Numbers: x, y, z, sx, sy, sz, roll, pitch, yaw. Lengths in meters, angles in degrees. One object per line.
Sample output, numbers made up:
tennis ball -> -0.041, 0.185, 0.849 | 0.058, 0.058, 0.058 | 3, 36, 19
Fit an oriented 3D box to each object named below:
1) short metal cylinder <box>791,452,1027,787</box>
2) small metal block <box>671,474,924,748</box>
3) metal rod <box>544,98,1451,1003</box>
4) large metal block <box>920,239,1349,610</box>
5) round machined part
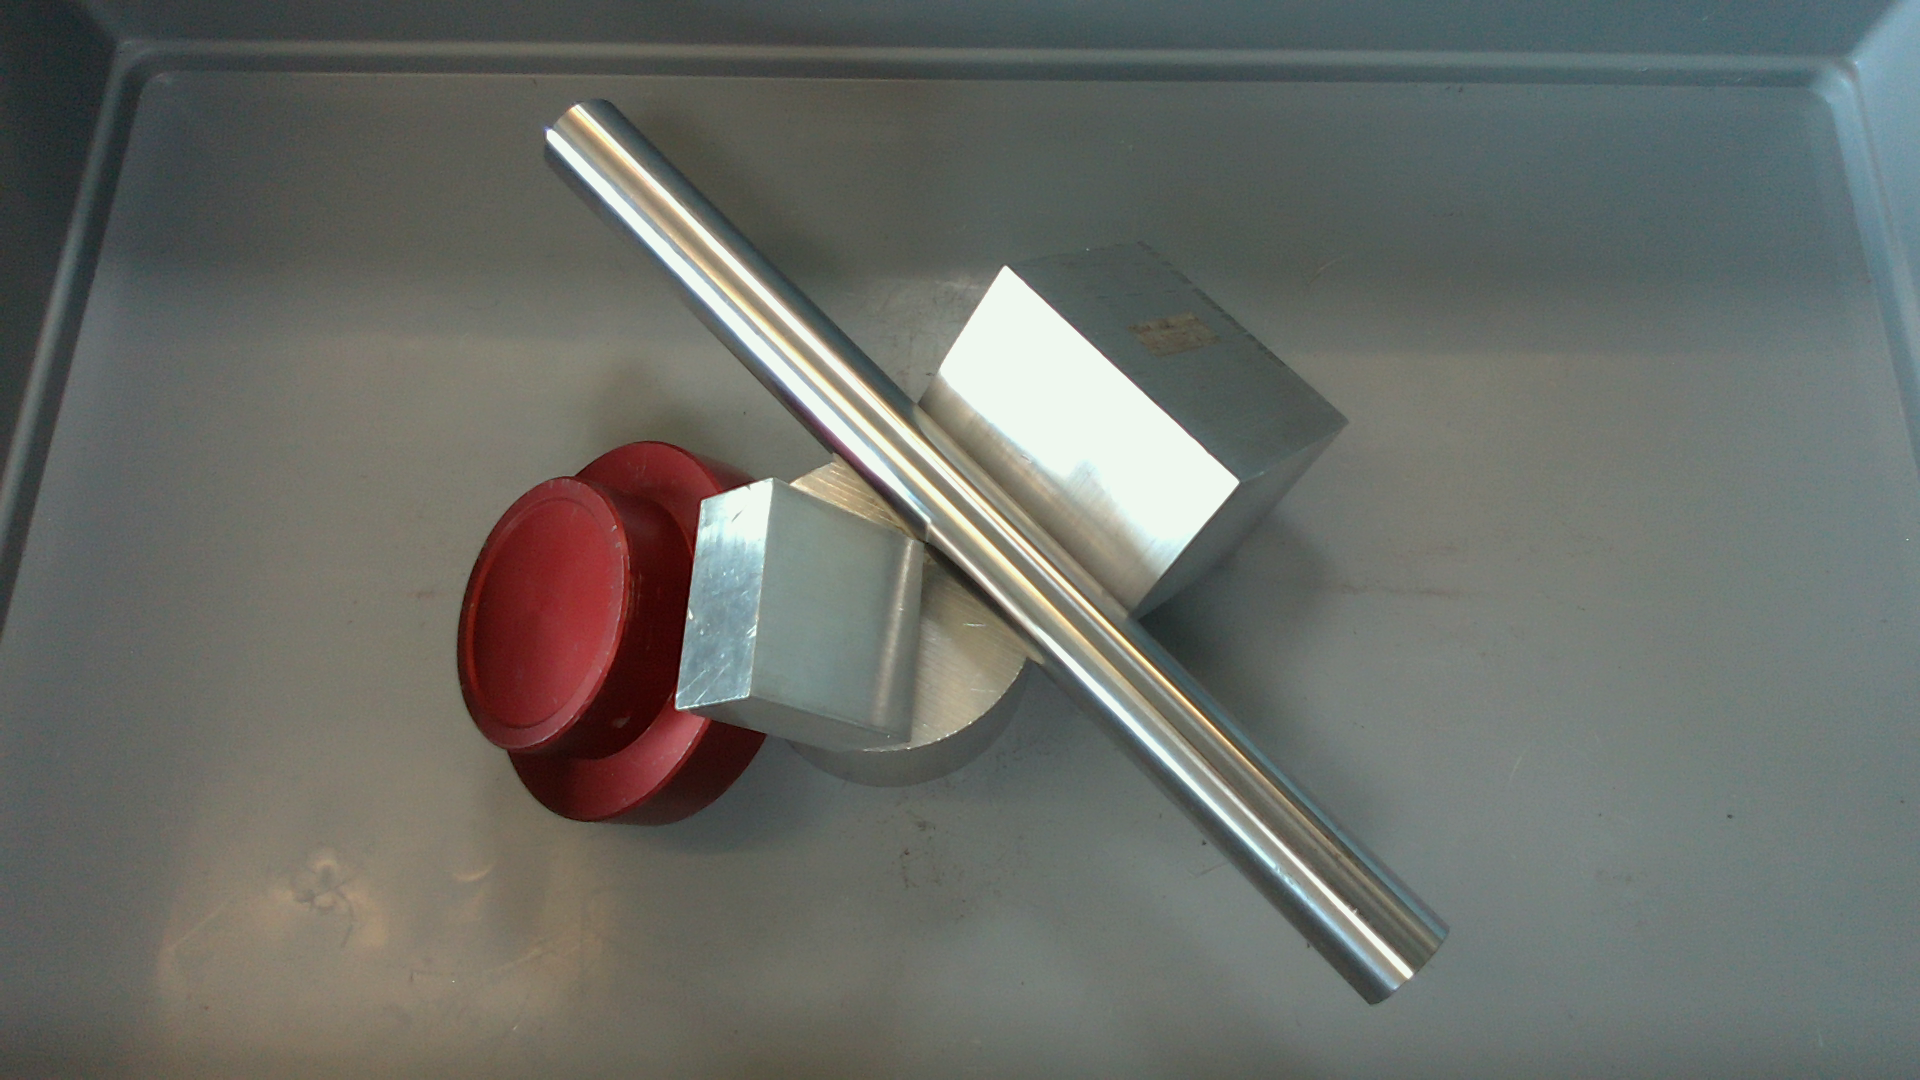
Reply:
short metal cylinder -> -0.020, 0.022, 0.371 | 0.080, 0.050, 0.080 | 0, 70, 0
small metal block -> -0.036, 0.019, 0.318 | 0.025, 0.050, 0.050 | -14, 64, 39
metal rod -> -0.002, -0.009, 0.343 | 0.025, 0.025, 0.300 | -41, 75, -14
large metal block -> 0.046, -0.033, 0.369 | 0.080, 0.050, 0.080 | 44, 33, 14
round machined part -> -0.090, 0.021, 0.349 | 0.098, 0.042, 0.098 | -12, 70, 37
